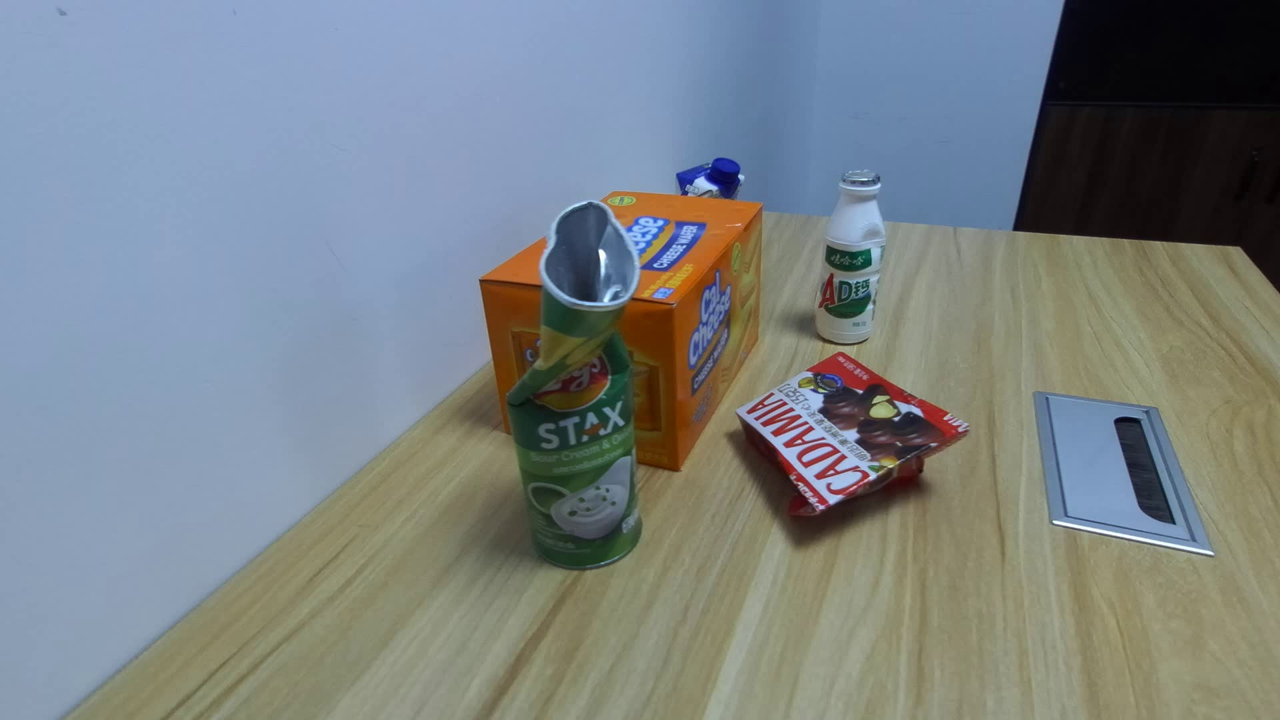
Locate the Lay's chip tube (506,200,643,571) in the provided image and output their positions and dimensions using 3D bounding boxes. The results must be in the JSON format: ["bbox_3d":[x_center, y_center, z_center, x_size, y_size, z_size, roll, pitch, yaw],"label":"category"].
[{"bbox_3d":[-0.029,0.025,0.386,0.070,0.199,0.079,26,41,31],"label":"Lay's chip tube"}]

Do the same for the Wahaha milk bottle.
[{"bbox_3d":[0.185,-0.083,0.618,0.053,0.137,0.053,-1,27,1],"label":"Wahaha milk bottle"}]

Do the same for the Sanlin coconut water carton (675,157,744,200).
[{"bbox_3d":[0.072,-0.135,0.720,0.057,0.142,0.078,27,42,36],"label":"Sanlin coconut water carton"}]

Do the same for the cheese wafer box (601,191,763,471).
[{"bbox_3d":[0.001,-0.037,0.563,0.148,0.129,0.222,10,32,21],"label":"cheese wafer box"}]

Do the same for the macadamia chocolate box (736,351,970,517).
[{"bbox_3d":[0.128,0.050,0.467,0.112,0.056,0.126,-13,30,-18],"label":"macadamia chocolate box"}]
